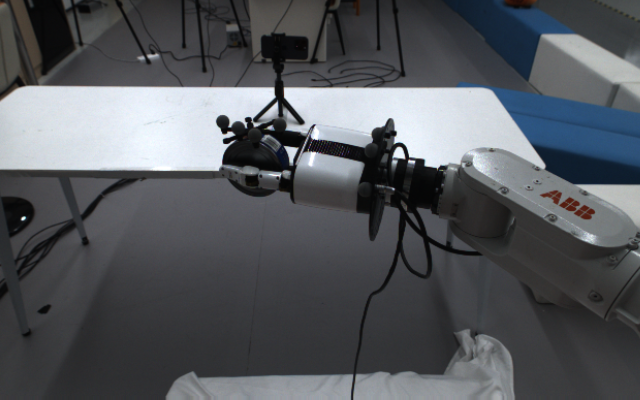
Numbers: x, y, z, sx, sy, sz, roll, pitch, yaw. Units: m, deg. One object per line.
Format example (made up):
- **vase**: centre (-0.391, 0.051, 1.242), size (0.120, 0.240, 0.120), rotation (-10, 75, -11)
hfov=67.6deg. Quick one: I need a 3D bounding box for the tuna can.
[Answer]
- **tuna can**: centre (-0.084, -0.050, 0.654), size (0.085, 0.085, 0.034), rotation (11, 34, 12)
